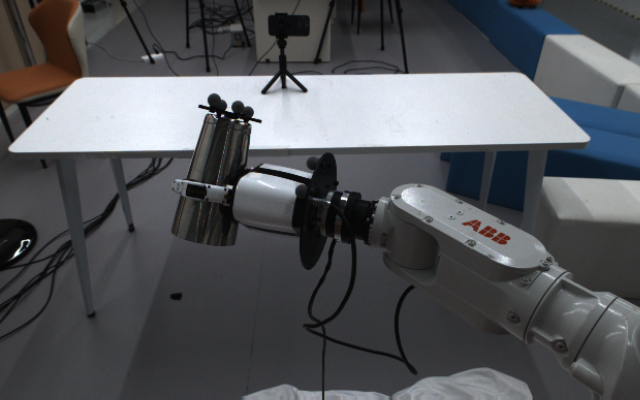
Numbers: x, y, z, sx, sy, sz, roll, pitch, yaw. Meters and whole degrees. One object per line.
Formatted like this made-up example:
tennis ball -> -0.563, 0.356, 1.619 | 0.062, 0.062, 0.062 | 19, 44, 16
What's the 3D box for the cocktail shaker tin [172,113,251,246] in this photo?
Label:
cocktail shaker tin -> -0.146, -0.029, 0.681 | 0.093, 0.170, 0.093 | 13, 5, -1
